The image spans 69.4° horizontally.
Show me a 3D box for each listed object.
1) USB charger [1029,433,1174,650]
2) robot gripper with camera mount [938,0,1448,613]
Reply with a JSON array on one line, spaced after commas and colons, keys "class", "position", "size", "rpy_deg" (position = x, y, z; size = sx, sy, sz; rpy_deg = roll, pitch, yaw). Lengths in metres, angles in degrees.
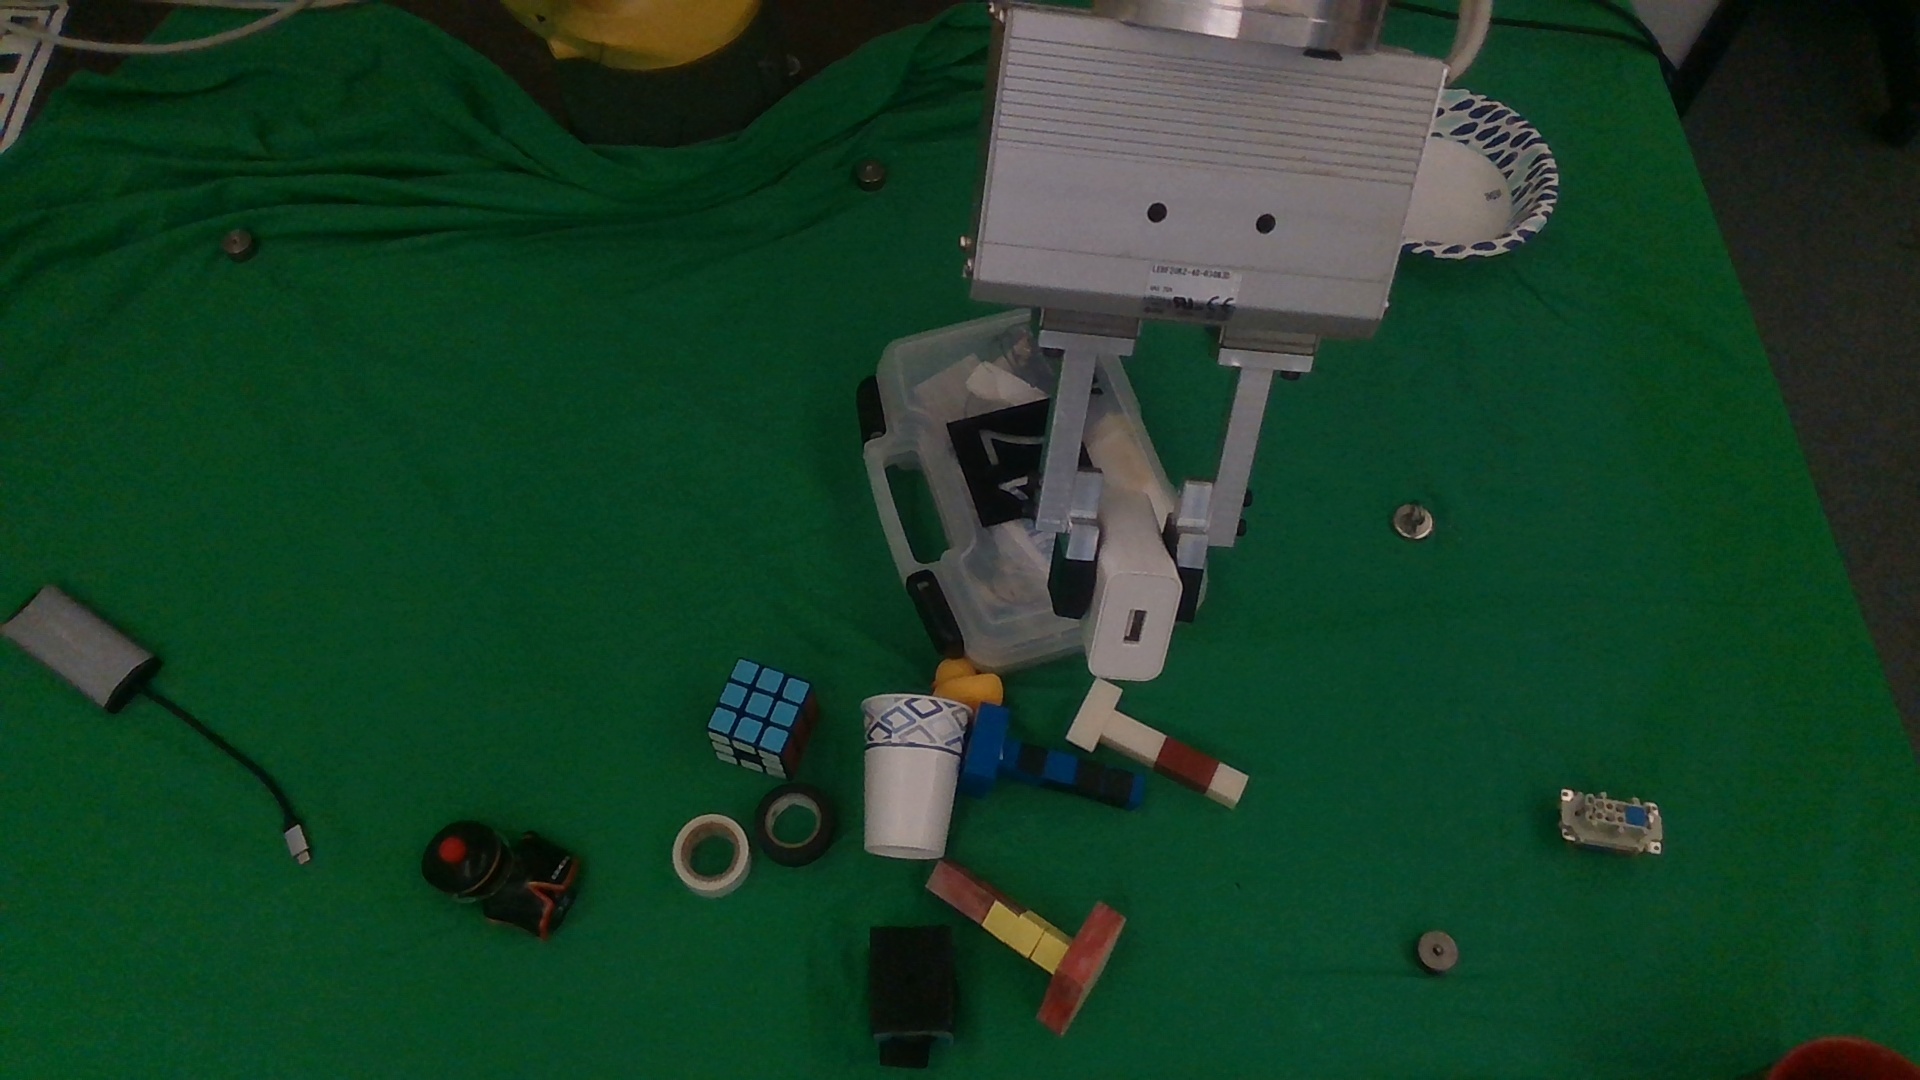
[{"class": "USB charger", "position": [0.039, -0.005, 0.424], "size": [0.029, 0.045, 0.075], "rpy_deg": [9, 34, -14]}, {"class": "robot gripper with camera mount", "position": [0.047, -0.088, 0.451], "size": [0.119, 0.158, 0.193], "rpy_deg": [8, 24, -4]}]
